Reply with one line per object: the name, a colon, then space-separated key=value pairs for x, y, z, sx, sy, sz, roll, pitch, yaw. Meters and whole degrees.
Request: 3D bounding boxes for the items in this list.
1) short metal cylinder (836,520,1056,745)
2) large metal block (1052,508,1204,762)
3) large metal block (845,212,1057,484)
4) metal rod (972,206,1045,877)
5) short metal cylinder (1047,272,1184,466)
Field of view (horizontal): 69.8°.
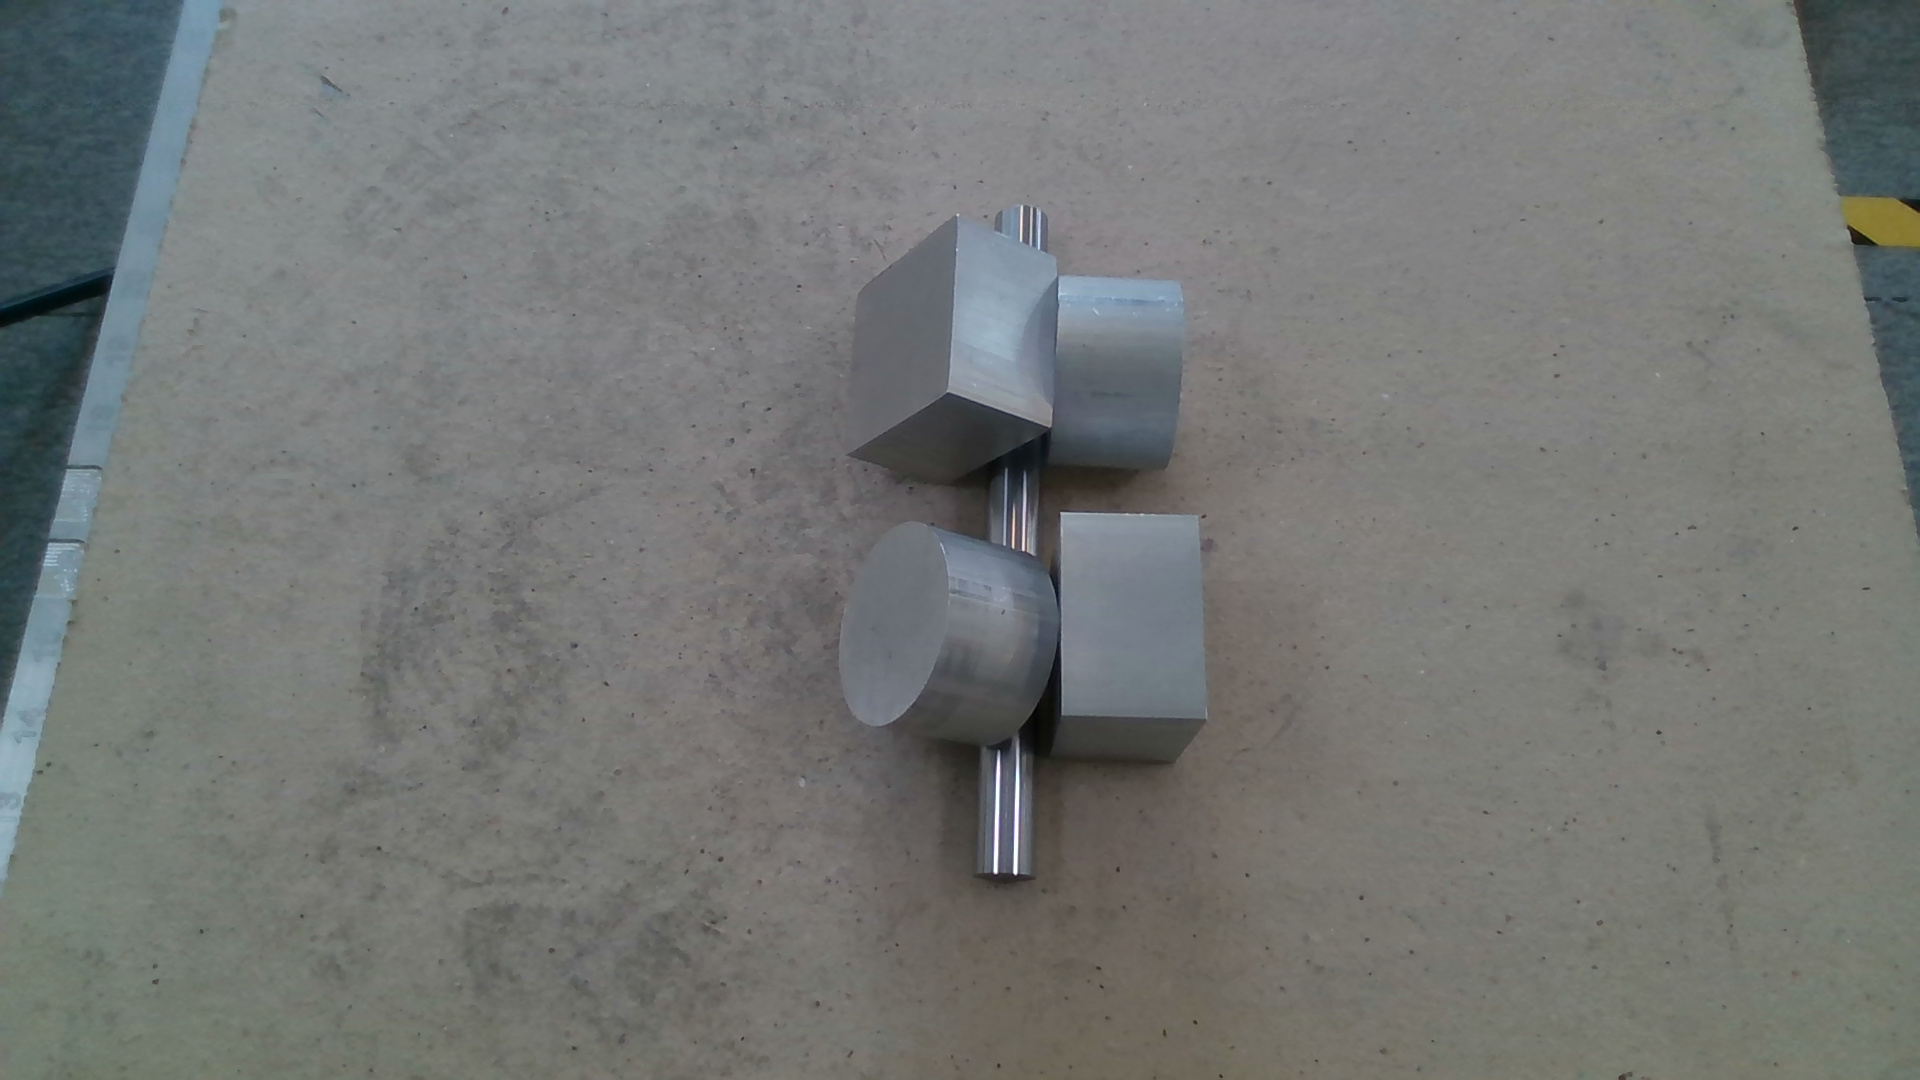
short metal cylinder: x=-0.007 y=0.037 z=0.540 sx=0.050 sy=0.080 sz=0.080 roll=15 pitch=67 yaw=-32
large metal block: x=0.063 y=0.040 z=0.545 sx=0.050 sy=0.080 sz=0.080 roll=1 pitch=70 yaw=0
large metal block: x=-0.004 y=-0.078 z=0.581 sx=0.050 sy=0.080 sz=0.080 roll=15 pitch=67 yaw=-31
metal rod: x=0.023 y=-0.008 z=0.593 sx=0.025 sy=0.025 sz=0.299 roll=2 pitch=70 yaw=1
short metal cylinder: x=0.064 y=-0.072 z=0.585 sx=0.050 sy=0.080 sz=0.080 roll=3 pitch=70 yaw=1
